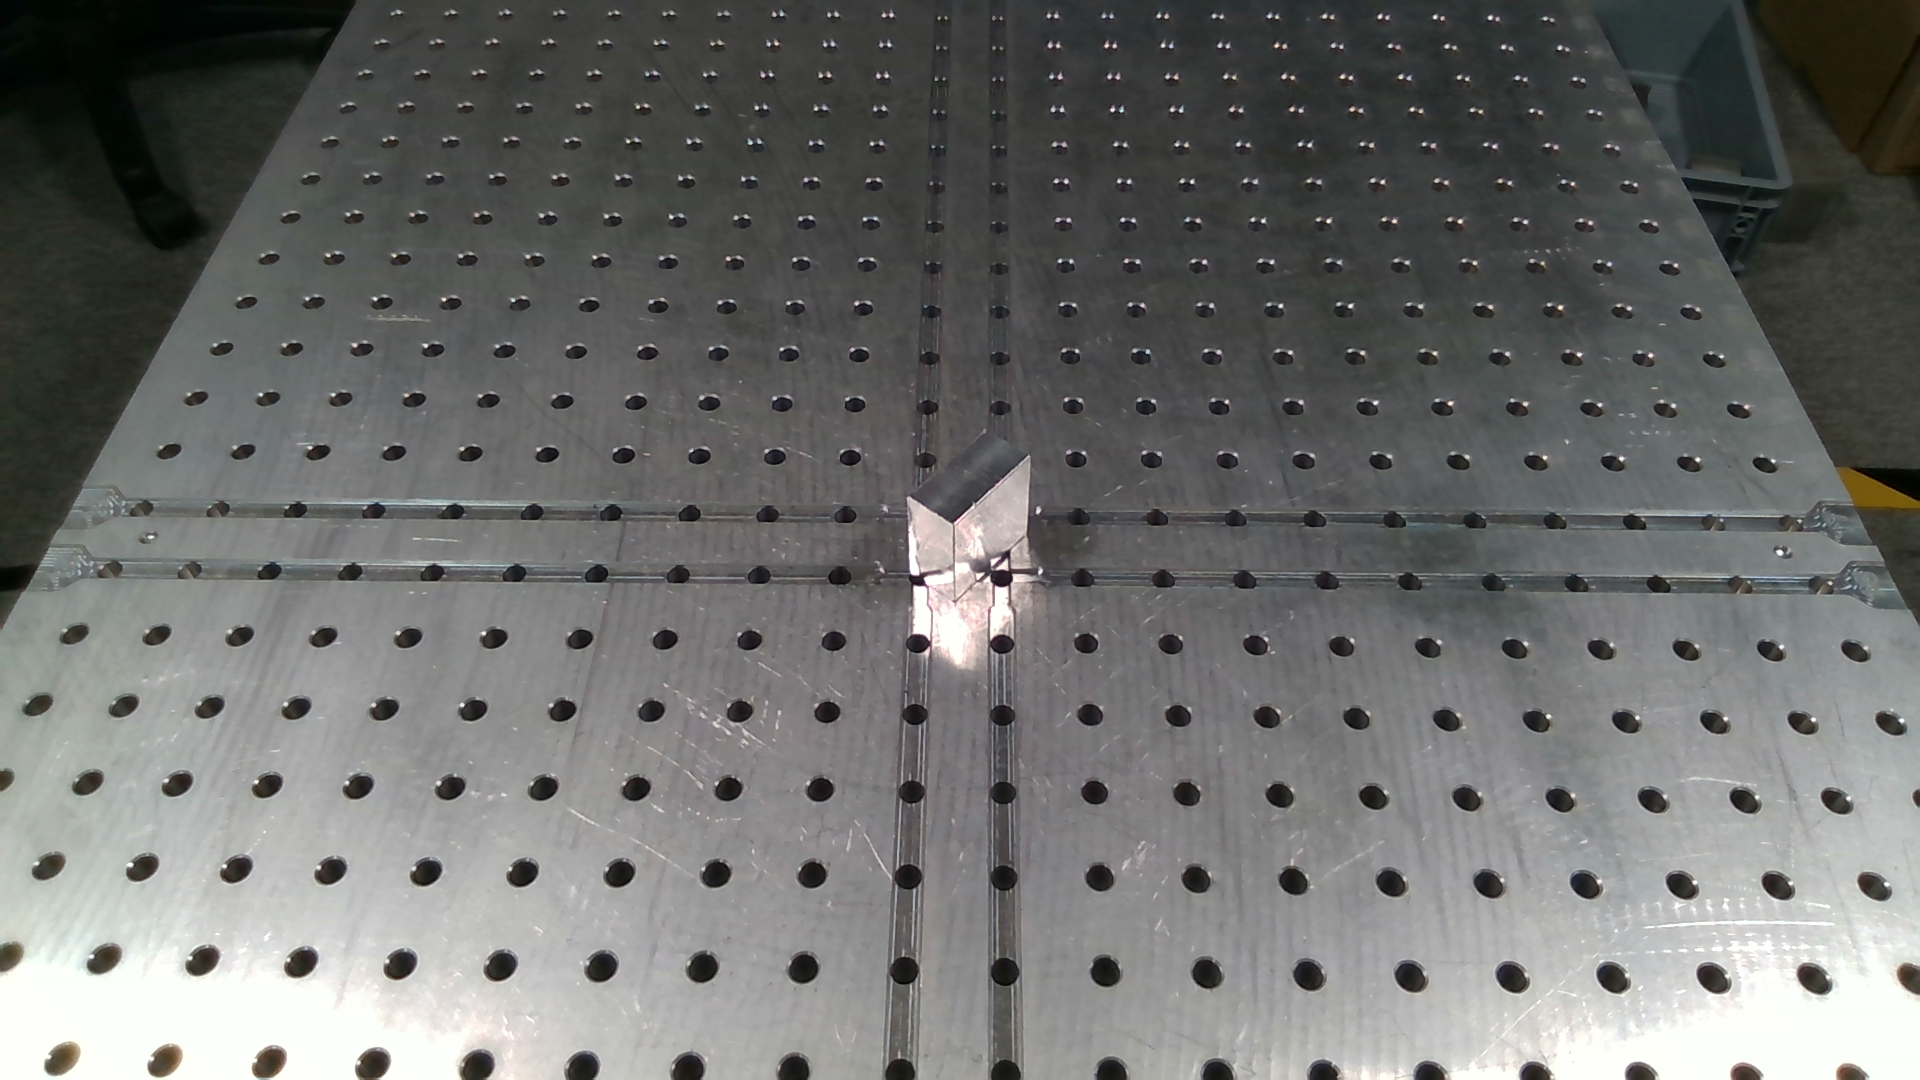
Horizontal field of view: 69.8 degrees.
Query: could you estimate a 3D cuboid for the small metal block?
[{"bbox_3d":[0.004,-0.010,0.582,0.025,0.050,0.050,33,57,24],"label":"small metal block"}]
